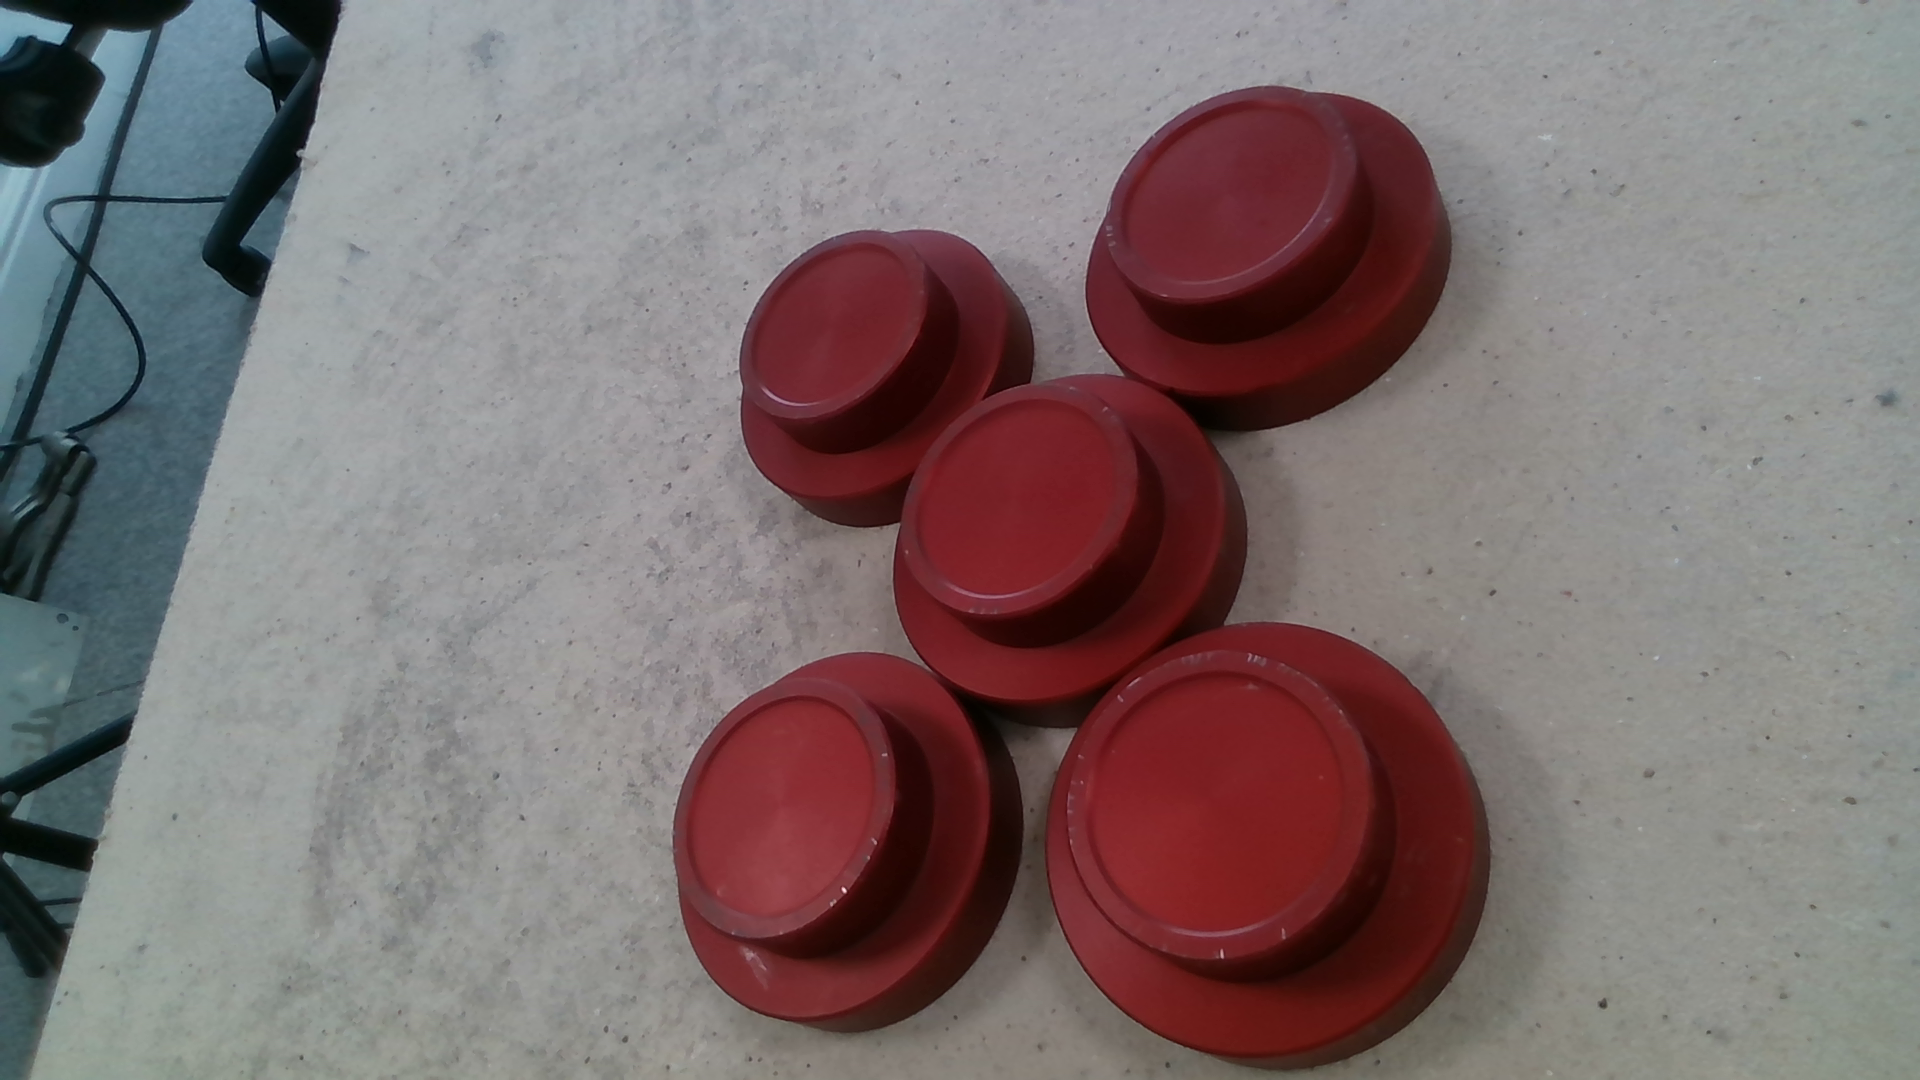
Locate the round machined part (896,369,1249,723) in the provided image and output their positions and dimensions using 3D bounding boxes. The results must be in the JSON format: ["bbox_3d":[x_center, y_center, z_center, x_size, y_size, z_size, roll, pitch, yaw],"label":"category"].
[{"bbox_3d":[0.024,-0.004,0.370,0.098,0.042,0.098,-16,57,26],"label":"round machined part"}]

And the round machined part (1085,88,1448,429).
[{"bbox_3d":[0.079,-0.083,0.377,0.098,0.042,0.098,-14,59,25],"label":"round machined part"}]

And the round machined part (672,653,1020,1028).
[{"bbox_3d":[-0.037,0.075,0.365,0.098,0.042,0.098,-16,57,26],"label":"round machined part"}]

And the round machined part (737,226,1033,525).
[{"bbox_3d":[-0.030,-0.057,0.431,0.098,0.042,0.098,-15,59,26],"label":"round machined part"}]

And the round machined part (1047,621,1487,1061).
[{"bbox_3d":[0.063,0.063,0.309,0.098,0.042,0.098,-16,57,26],"label":"round machined part"}]
